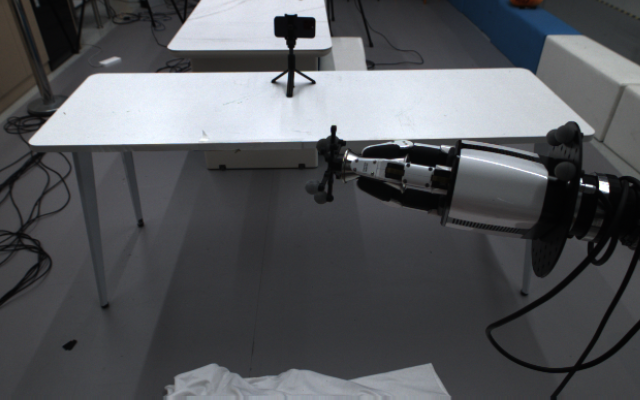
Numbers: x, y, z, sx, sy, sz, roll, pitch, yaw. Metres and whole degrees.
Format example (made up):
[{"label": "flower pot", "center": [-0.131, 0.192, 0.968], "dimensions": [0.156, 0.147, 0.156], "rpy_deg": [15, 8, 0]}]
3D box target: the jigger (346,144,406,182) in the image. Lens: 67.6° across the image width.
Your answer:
[{"label": "jigger", "center": [0.065, -0.040, 0.537], "dimensions": [0.071, 0.043, 0.043], "rpy_deg": [7, 35, 16]}]
